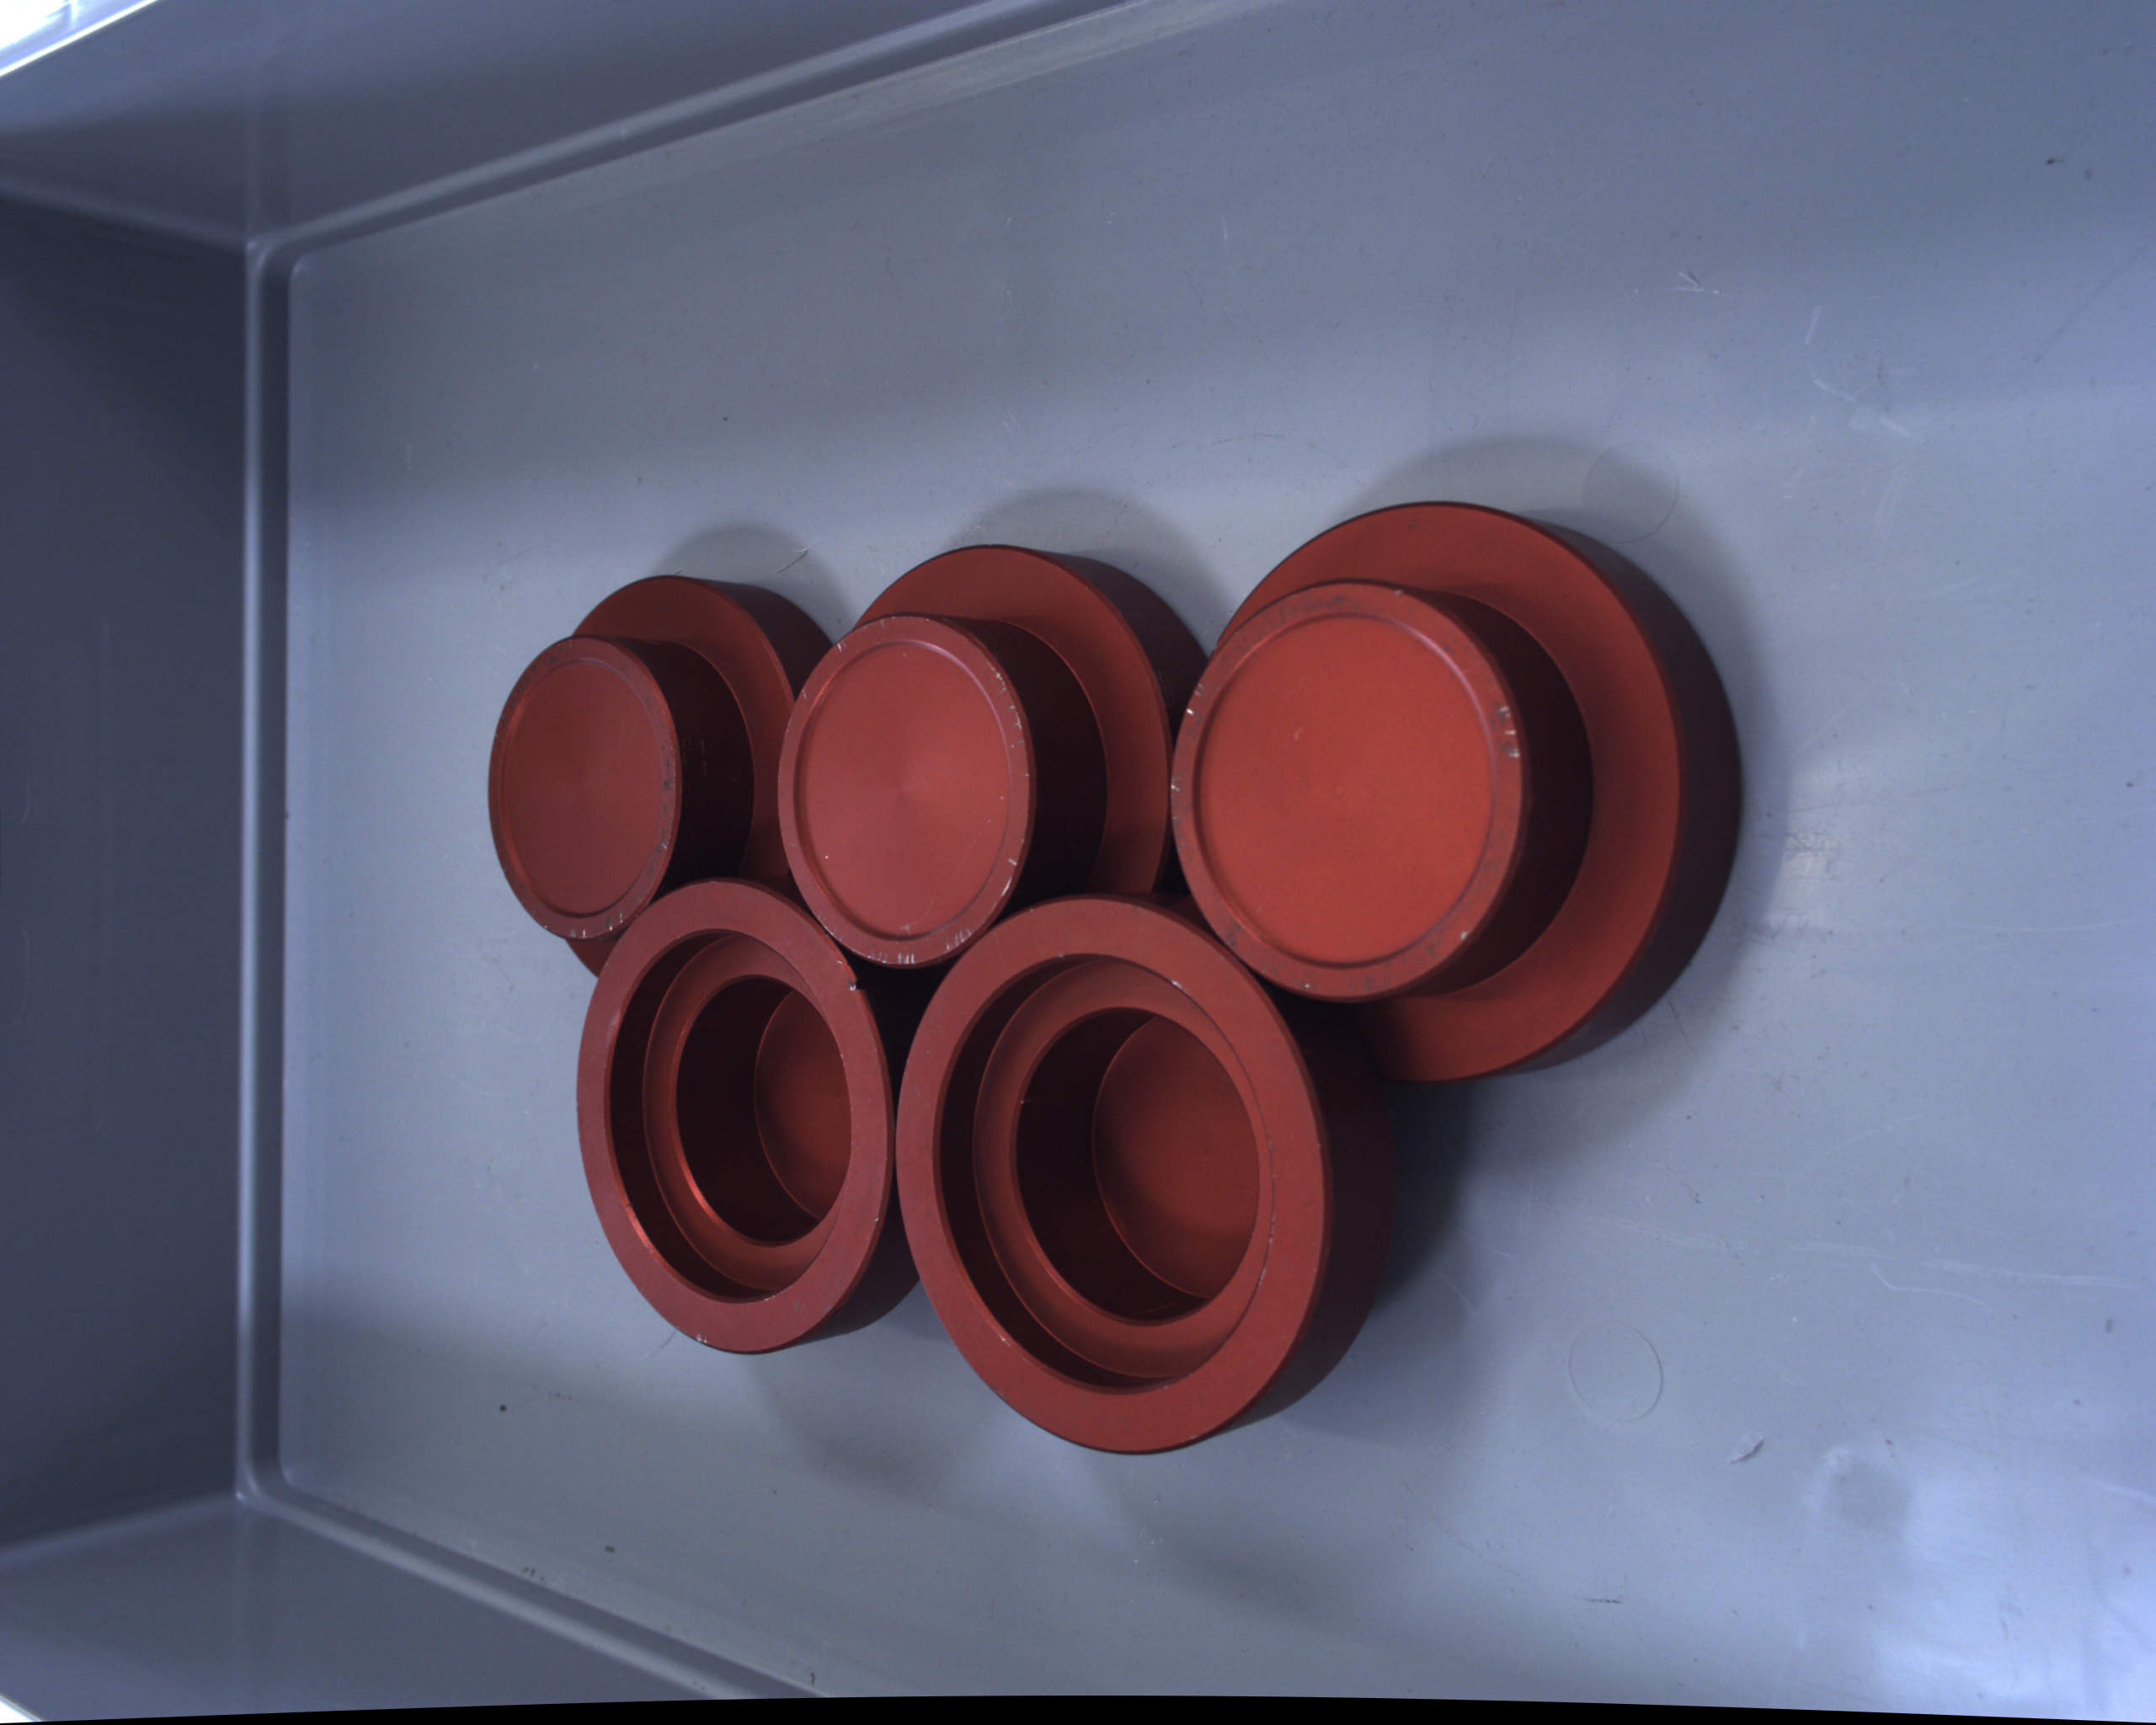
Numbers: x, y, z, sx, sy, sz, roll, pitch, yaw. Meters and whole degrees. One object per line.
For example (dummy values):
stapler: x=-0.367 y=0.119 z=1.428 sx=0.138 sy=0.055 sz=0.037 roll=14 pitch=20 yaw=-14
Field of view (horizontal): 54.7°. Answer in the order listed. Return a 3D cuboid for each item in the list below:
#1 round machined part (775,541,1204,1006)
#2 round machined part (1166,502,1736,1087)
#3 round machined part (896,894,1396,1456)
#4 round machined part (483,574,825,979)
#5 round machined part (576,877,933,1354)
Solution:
round machined part: x=-0.021 y=-0.015 z=0.411 sx=0.098 sy=0.042 sz=0.097 roll=-1 pitch=89 yaw=40
round machined part: x=0.054 y=-0.011 z=0.348 sx=0.098 sy=0.042 sz=0.097 roll=-1 pitch=89 yaw=40
round machined part: x=0.016 y=0.054 z=0.380 sx=0.098 sy=0.042 sz=0.097 roll=0 pitch=90 yaw=40
round machined part: x=-0.097 y=-0.017 z=0.472 sx=0.098 sy=0.042 sz=0.097 roll=-1 pitch=88 yaw=39
round machined part: x=-0.060 y=0.052 z=0.443 sx=0.098 sy=0.042 sz=0.097 roll=0 pitch=90 yaw=40
